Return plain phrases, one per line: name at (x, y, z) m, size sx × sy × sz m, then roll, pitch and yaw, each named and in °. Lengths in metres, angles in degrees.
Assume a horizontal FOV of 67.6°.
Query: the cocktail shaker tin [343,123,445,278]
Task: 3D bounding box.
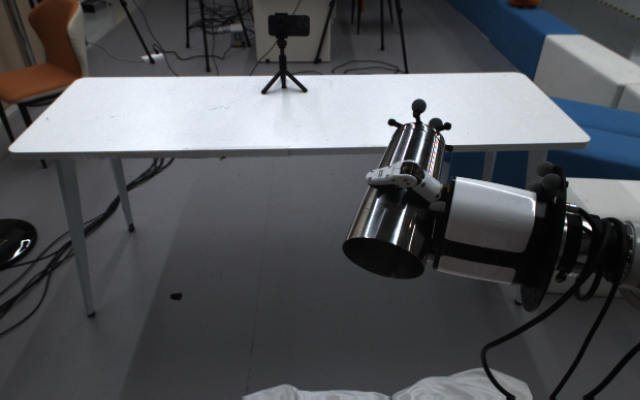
cocktail shaker tin at (0.095, -0.005, 0.561) m, size 0.093 × 0.093 × 0.170 m, roll 14°, pitch 60°, yaw 17°
